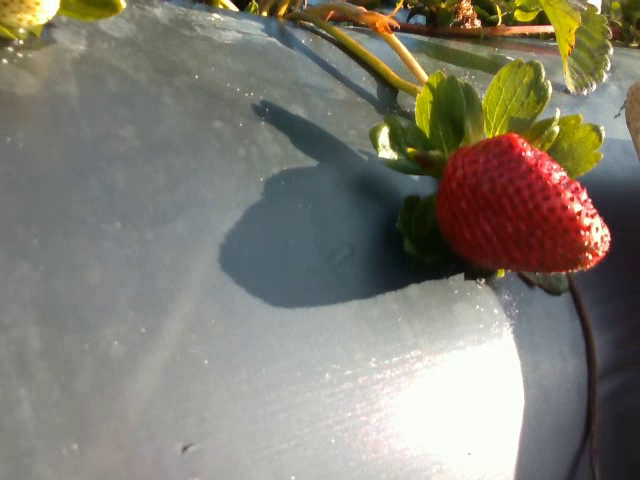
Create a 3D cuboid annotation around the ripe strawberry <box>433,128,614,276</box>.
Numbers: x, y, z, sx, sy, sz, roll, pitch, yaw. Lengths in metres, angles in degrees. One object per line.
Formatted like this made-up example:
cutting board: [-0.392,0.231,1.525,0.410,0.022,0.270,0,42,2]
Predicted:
ripe strawberry: [0.018,-0.003,0.054,0.015,0.015,0.022,13,11,-22]
